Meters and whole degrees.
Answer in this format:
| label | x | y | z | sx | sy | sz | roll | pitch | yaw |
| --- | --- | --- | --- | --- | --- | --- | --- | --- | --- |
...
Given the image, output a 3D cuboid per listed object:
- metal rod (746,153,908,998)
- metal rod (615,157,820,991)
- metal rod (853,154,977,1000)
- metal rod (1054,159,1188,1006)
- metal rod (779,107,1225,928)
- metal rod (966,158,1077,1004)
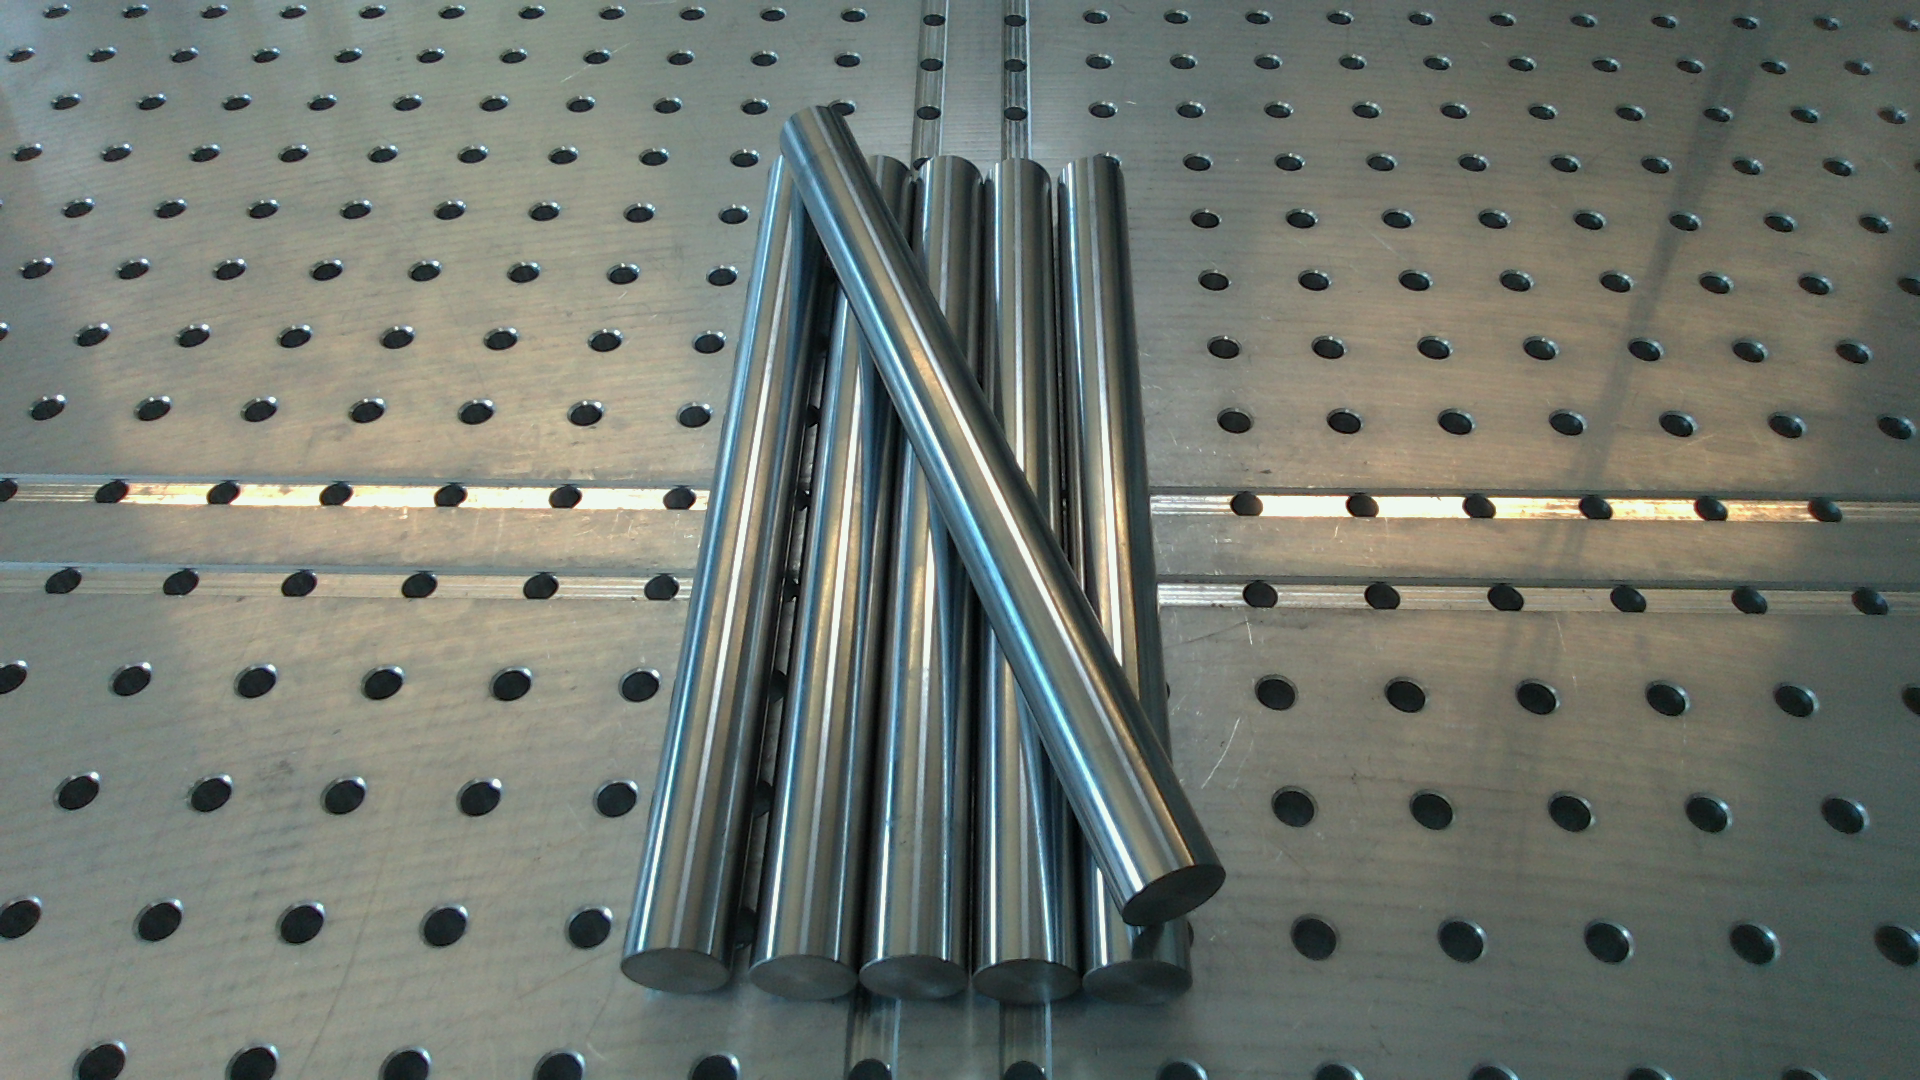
| label | x | y | z | sx | sy | sz | roll | pitch | yaw |
| --- | --- | --- | --- | --- | --- | --- | --- | --- | --- |
| metal rod | -0.033 | -0.016 | 0.407 | 0.025 | 0.025 | 0.300 | 1 | 50 | 1 |
| metal rod | -0.062 | -0.017 | 0.408 | 0.025 | 0.025 | 0.300 | 1 | 50 | 1 |
| metal rod | -0.009 | -0.016 | 0.407 | 0.025 | 0.025 | 0.300 | 1 | 50 | 1 |
| metal rod | 0.043 | -0.014 | 0.407 | 0.025 | 0.025 | 0.300 | 1 | 50 | 1 |
| metal rod | -0.003 | -0.031 | 0.388 | 0.025 | 0.025 | 0.300 | -15 | 51 | -12 |
| metal rod | 0.017 | -0.015 | 0.408 | 0.025 | 0.025 | 0.300 | 1 | 50 | 1 |
